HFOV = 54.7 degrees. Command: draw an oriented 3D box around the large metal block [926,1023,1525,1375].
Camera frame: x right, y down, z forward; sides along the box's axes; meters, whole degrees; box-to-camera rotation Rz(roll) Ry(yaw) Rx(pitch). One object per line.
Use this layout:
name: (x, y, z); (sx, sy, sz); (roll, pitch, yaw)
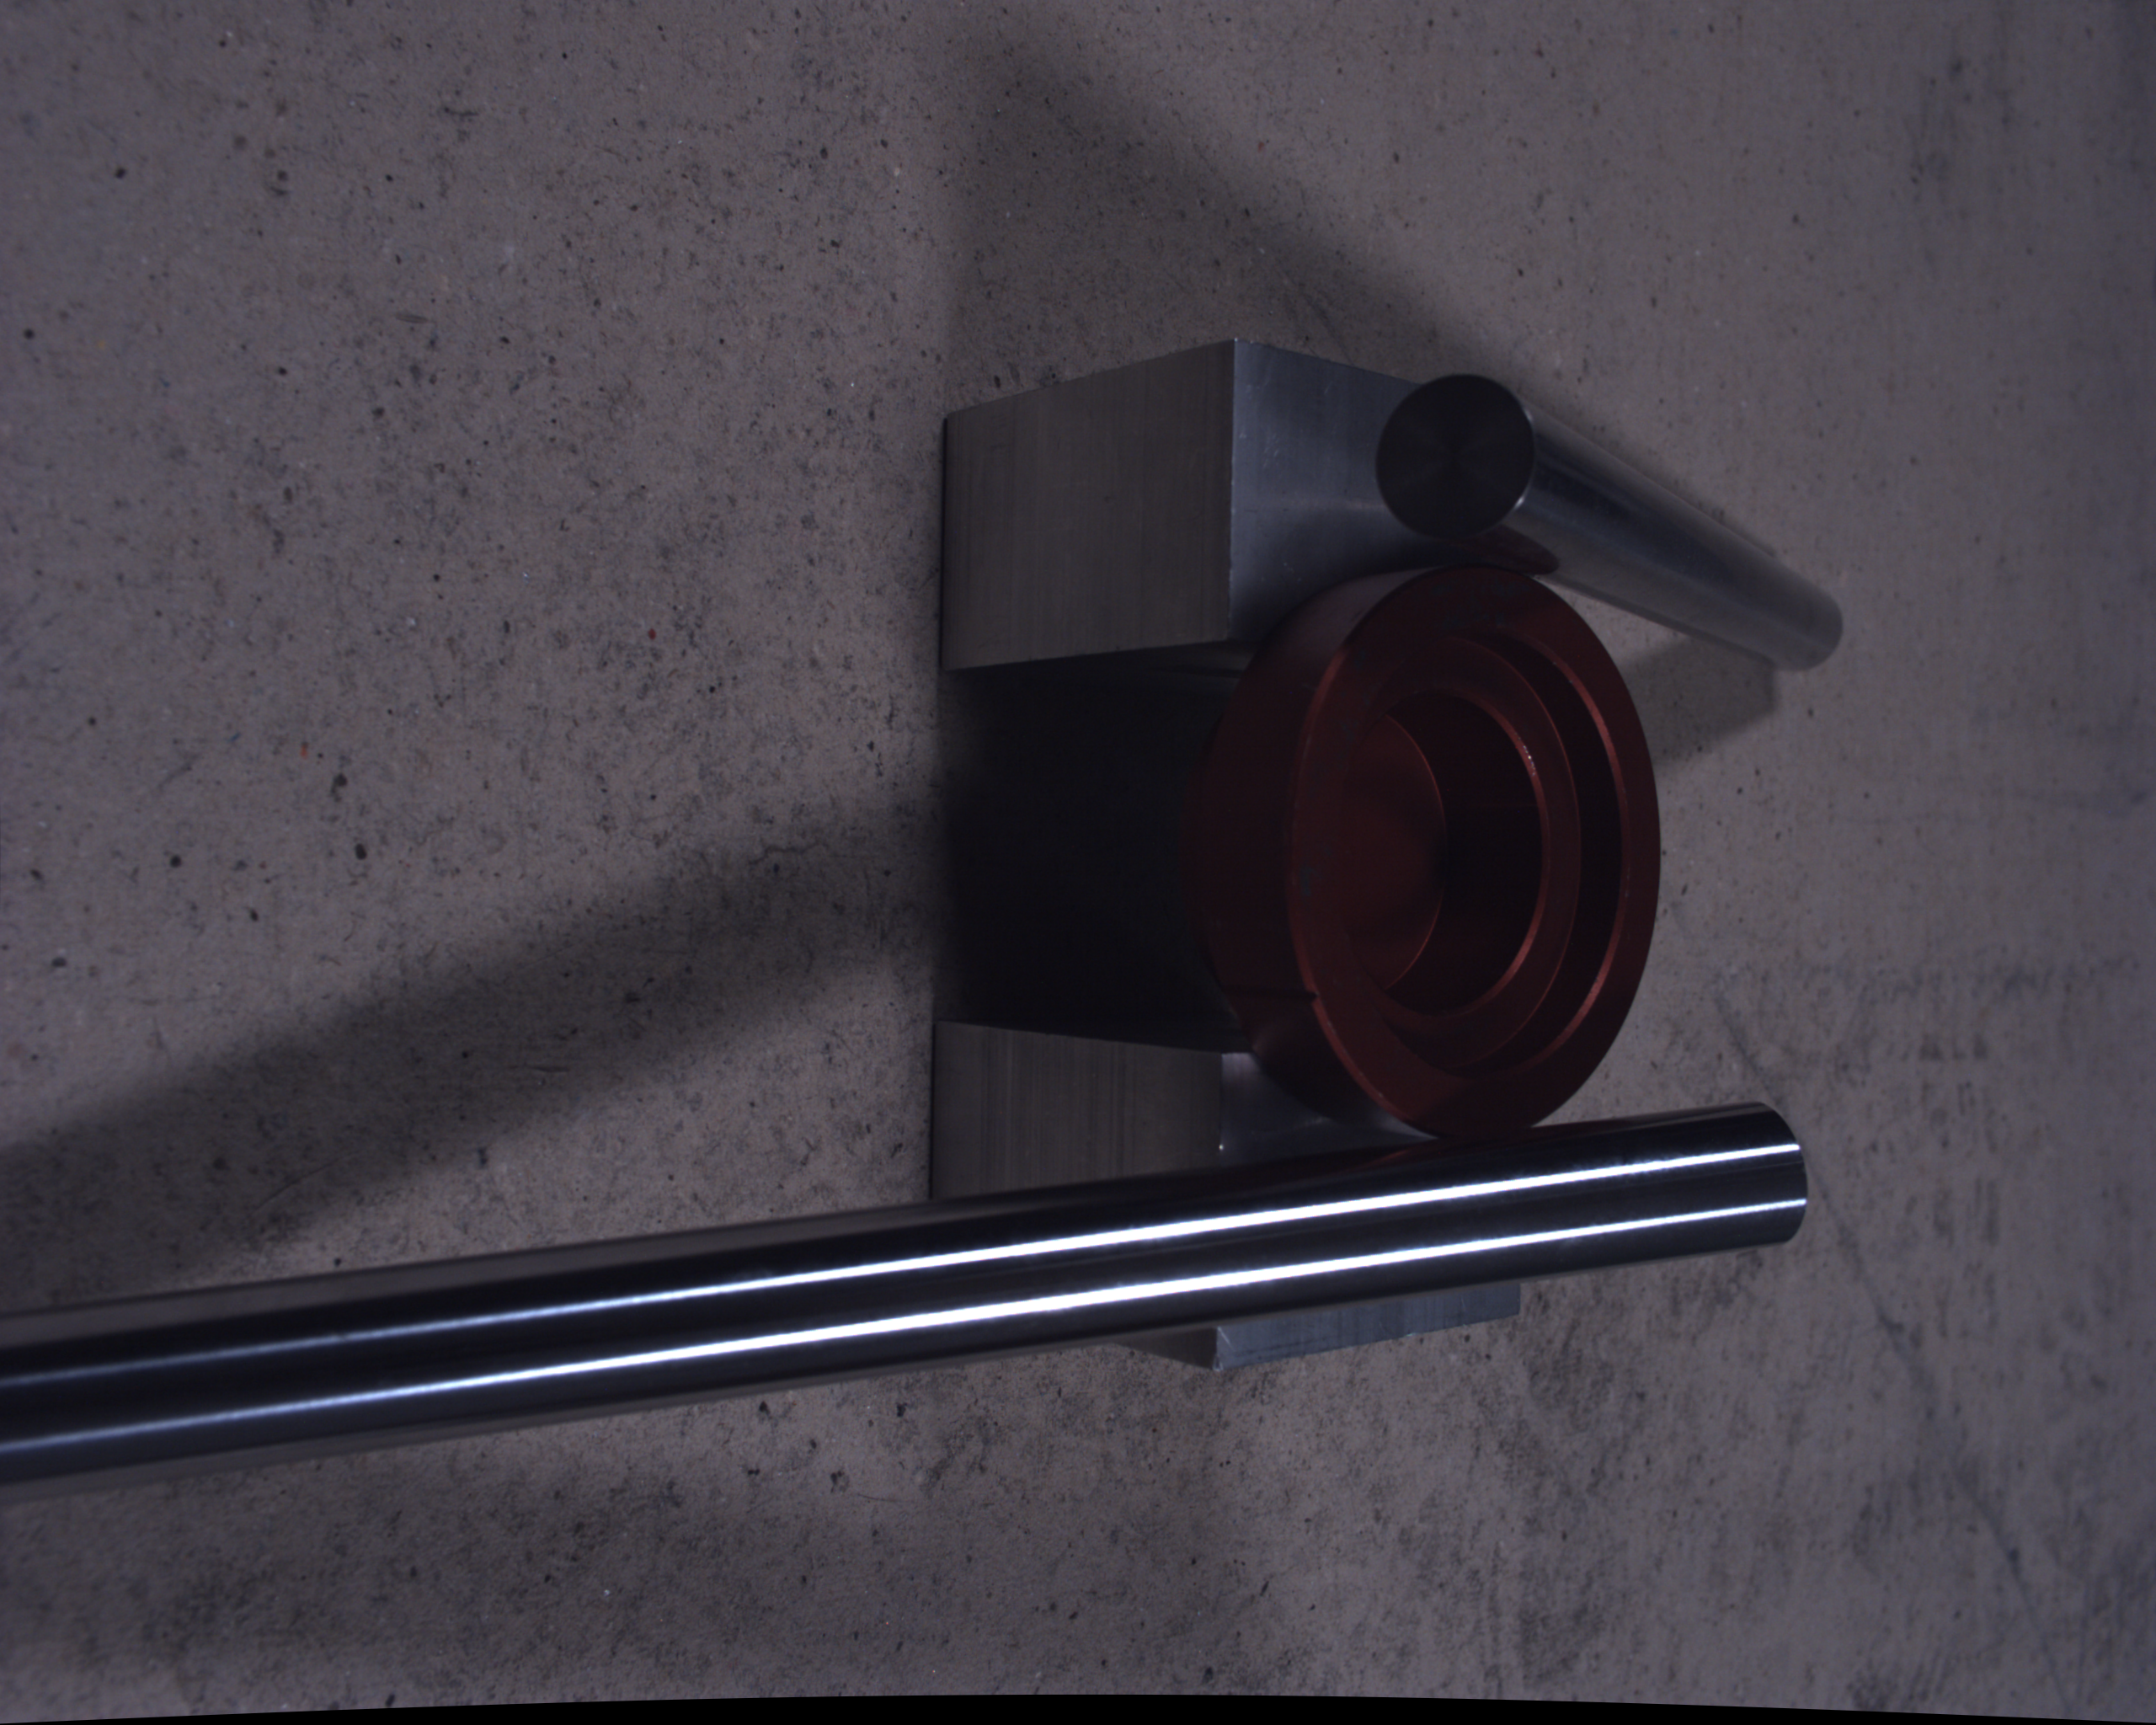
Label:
large metal block: (0.028, 0.059, 0.396); (0.081, 0.080, 0.050); (1, 89, -40)

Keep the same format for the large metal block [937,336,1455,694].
large metal block: (0.030, -0.061, 0.397); (0.081, 0.080, 0.050); (1, 89, -40)

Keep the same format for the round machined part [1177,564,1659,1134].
round machined part: (0.056, -0.002, 0.368); (0.099, 0.042, 0.097); (0, 90, -40)

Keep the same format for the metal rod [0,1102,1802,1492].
metal rod: (-0.027, 0.063, 0.313); (0.303, 0.025, 0.025); (-4, 93, -18)

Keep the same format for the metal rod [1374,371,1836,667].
metal rod: (0.127, -0.063, 0.445); (0.301, 0.025, 0.025); (-2, 92, -62)
